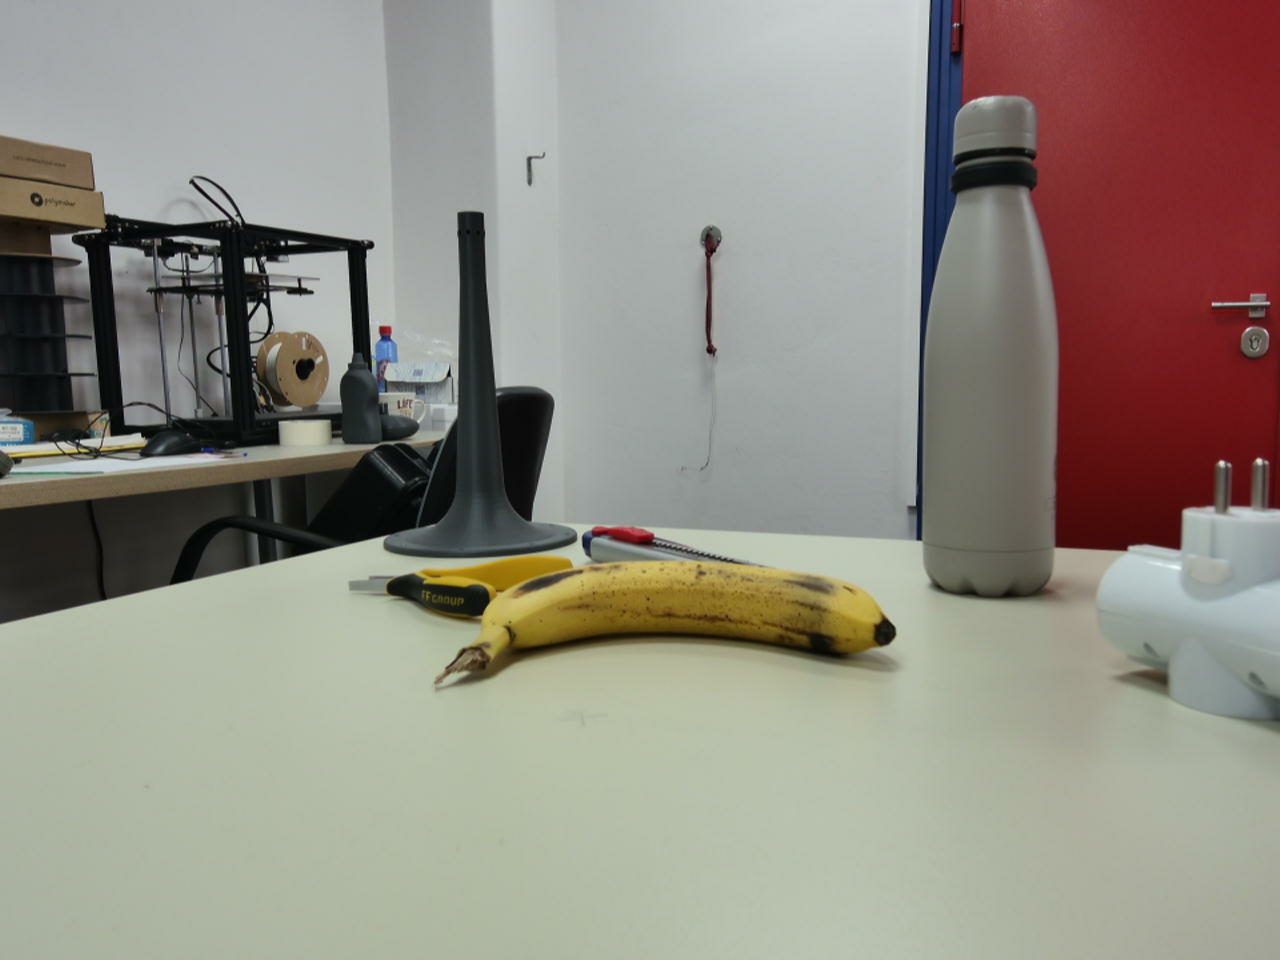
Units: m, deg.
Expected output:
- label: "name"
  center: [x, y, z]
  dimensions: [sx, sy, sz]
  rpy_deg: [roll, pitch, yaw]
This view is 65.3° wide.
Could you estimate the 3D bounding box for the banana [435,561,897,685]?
- label: "banana"
  center: [0.012, 0.060, 0.455]
  dimensions: [0.186, 0.038, 0.097]
  rpy_deg: [0, 3, -2]
